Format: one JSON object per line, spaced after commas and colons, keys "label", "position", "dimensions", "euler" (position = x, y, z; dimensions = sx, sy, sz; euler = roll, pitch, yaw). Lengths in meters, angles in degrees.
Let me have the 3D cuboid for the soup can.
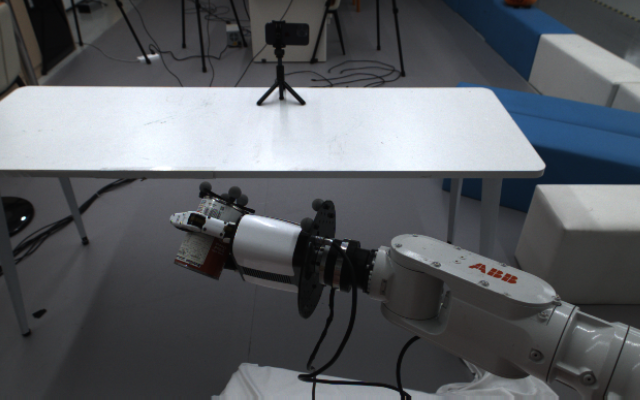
{"label": "soup can", "position": [-0.152, 0.054, 0.676], "dimensions": [0.067, 0.067, 0.101], "euler": [16, 75, 19]}
